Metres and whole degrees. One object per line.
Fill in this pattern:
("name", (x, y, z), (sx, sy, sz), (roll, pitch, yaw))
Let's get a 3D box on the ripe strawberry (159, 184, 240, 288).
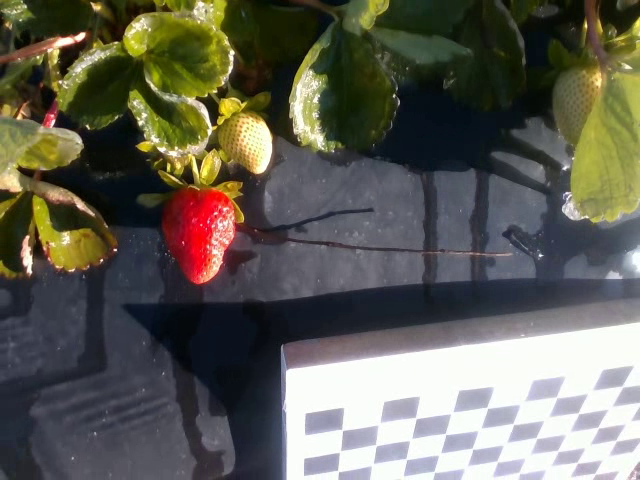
("ripe strawberry", (-0.046, 0.002, 0.237), (0.039, 0.039, 0.040), (-6, -22, 6))
